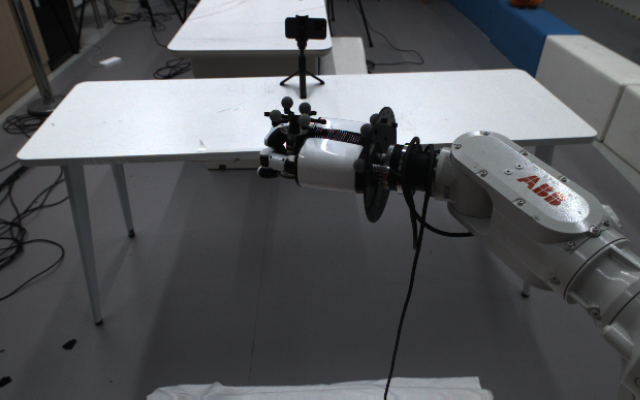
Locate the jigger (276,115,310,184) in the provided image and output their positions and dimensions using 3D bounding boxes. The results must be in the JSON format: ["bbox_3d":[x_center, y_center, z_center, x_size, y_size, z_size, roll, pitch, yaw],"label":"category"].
[{"bbox_3d":[-0.038,-0.069,0.703,0.043,0.071,0.043,5,26,-3],"label":"jigger"}]
